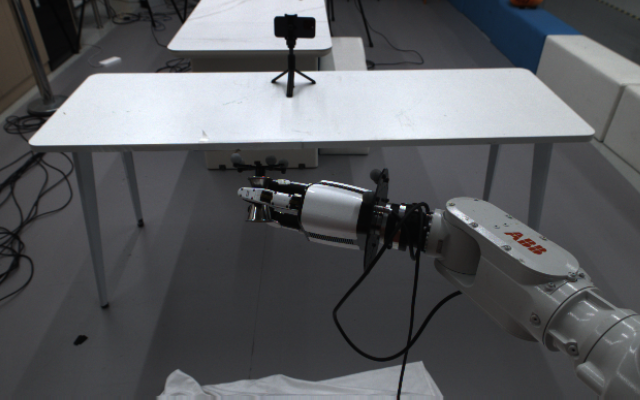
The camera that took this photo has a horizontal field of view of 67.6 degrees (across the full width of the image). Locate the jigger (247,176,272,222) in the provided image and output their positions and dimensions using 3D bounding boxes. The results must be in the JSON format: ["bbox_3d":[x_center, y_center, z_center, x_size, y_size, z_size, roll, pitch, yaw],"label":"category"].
[{"bbox_3d":[-0.095,0.000,0.750,0.043,0.071,0.043,1,-5,0],"label":"jigger"}]
